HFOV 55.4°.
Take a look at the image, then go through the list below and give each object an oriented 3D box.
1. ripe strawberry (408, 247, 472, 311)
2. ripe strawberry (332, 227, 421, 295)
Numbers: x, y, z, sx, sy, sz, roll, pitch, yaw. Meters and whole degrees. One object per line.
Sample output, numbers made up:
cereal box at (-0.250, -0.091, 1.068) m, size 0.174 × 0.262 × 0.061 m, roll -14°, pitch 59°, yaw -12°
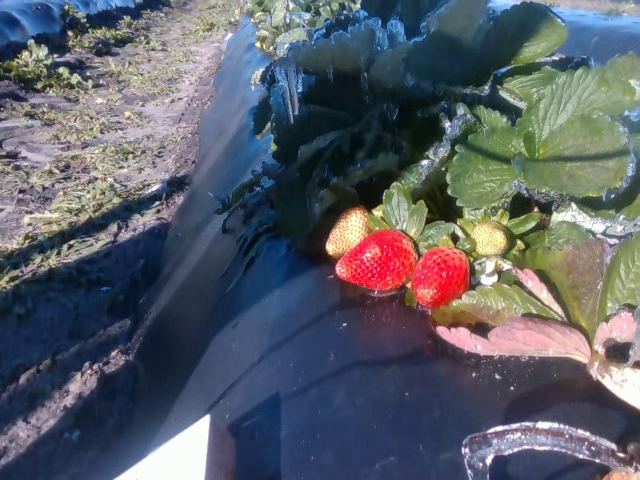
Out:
ripe strawberry at (0.062, 0.021, 0.314) m, size 0.036 × 0.030 × 0.041 m, roll -23°, pitch 24°, yaw 35°
ripe strawberry at (0.027, 0.015, 0.333) m, size 0.051 × 0.040 × 0.036 m, roll -10°, pitch 5°, yaw -35°
